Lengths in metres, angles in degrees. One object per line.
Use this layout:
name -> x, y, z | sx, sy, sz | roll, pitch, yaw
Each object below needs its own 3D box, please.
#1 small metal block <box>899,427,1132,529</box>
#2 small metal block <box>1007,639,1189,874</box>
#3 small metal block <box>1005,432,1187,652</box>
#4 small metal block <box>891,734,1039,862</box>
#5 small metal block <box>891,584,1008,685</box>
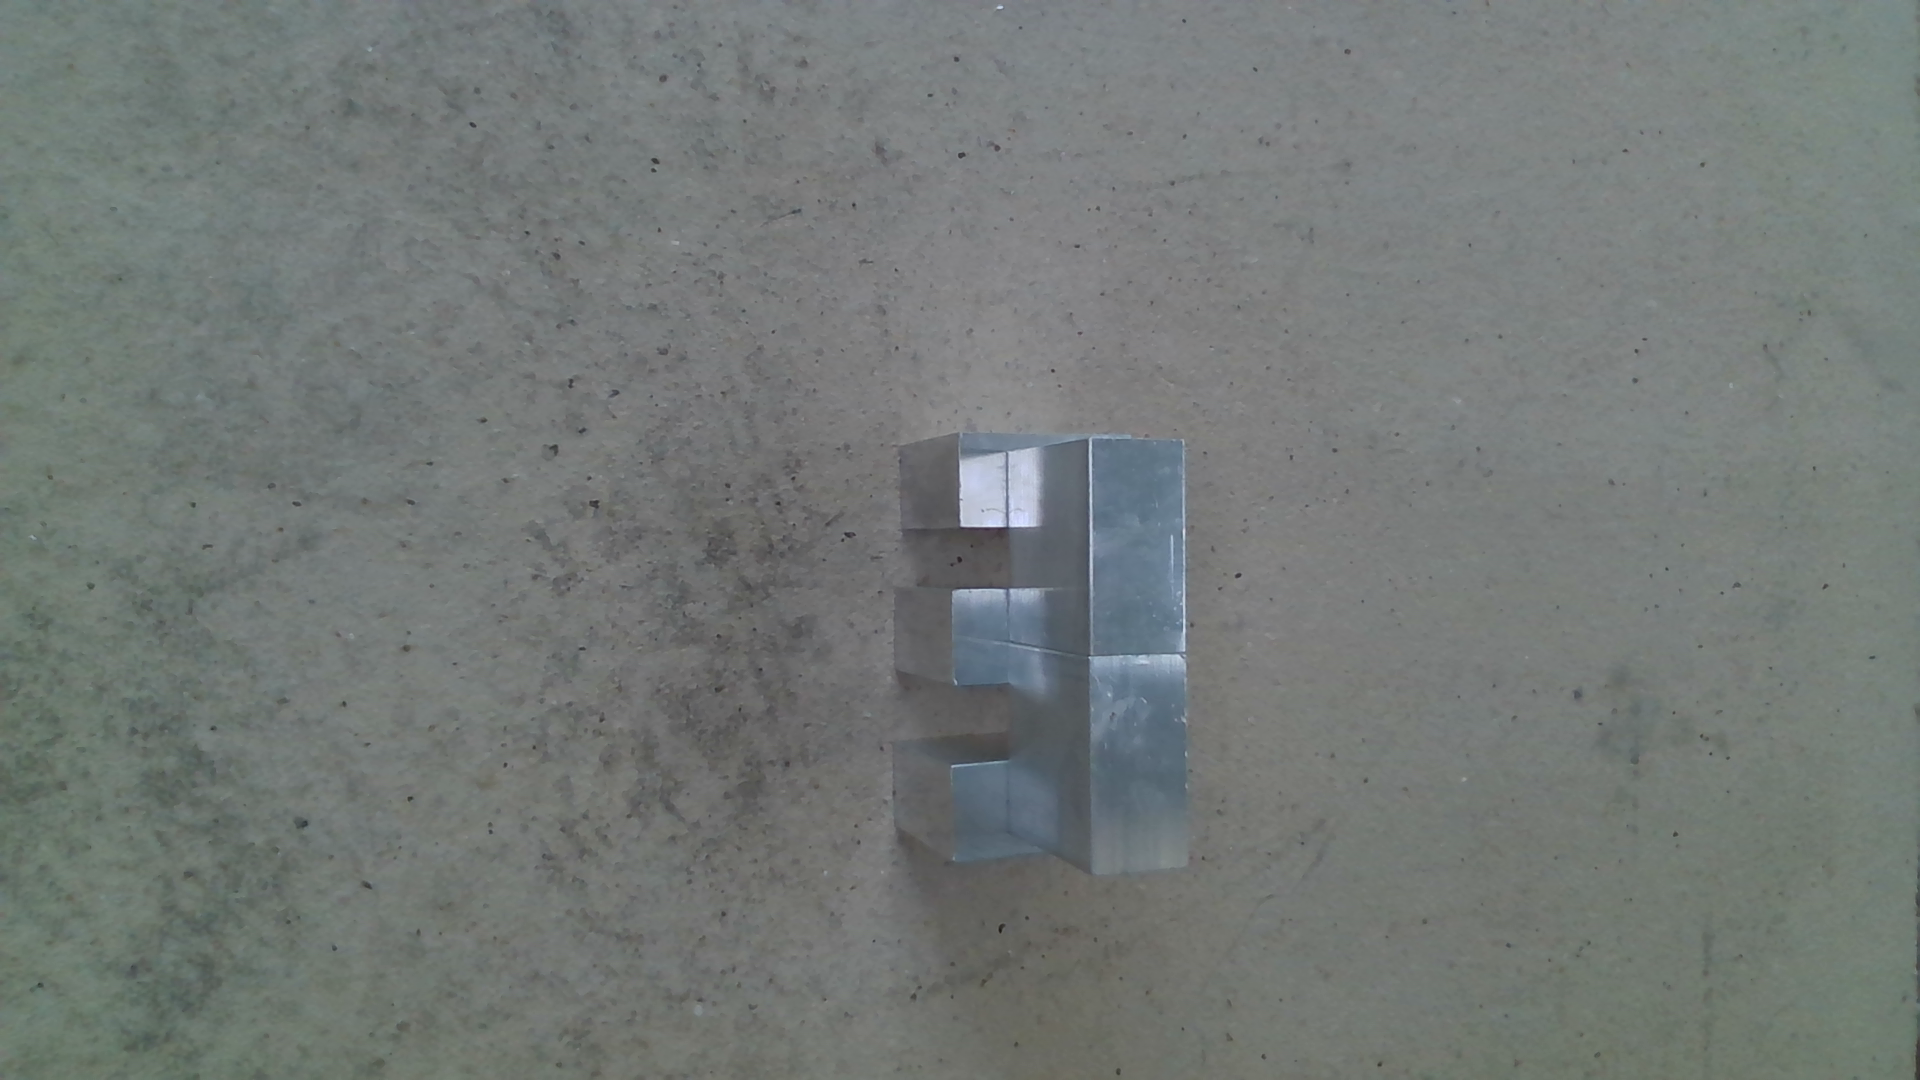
small metal block -> 0.014, -0.016, 0.385 | 0.050, 0.050, 0.025 | -1, 90, -21
small metal block -> 0.033, 0.051, 0.340 | 0.025, 0.050, 0.050 | -1, 90, -20
small metal block -> 0.032, 0.000, 0.340 | 0.025, 0.050, 0.050 | -1, 90, -20
small metal block -> 0.012, 0.070, 0.386 | 0.050, 0.050, 0.025 | -2, 90, -21
small metal block -> 0.012, 0.025, 0.386 | 0.050, 0.050, 0.025 | -2, 90, -21
